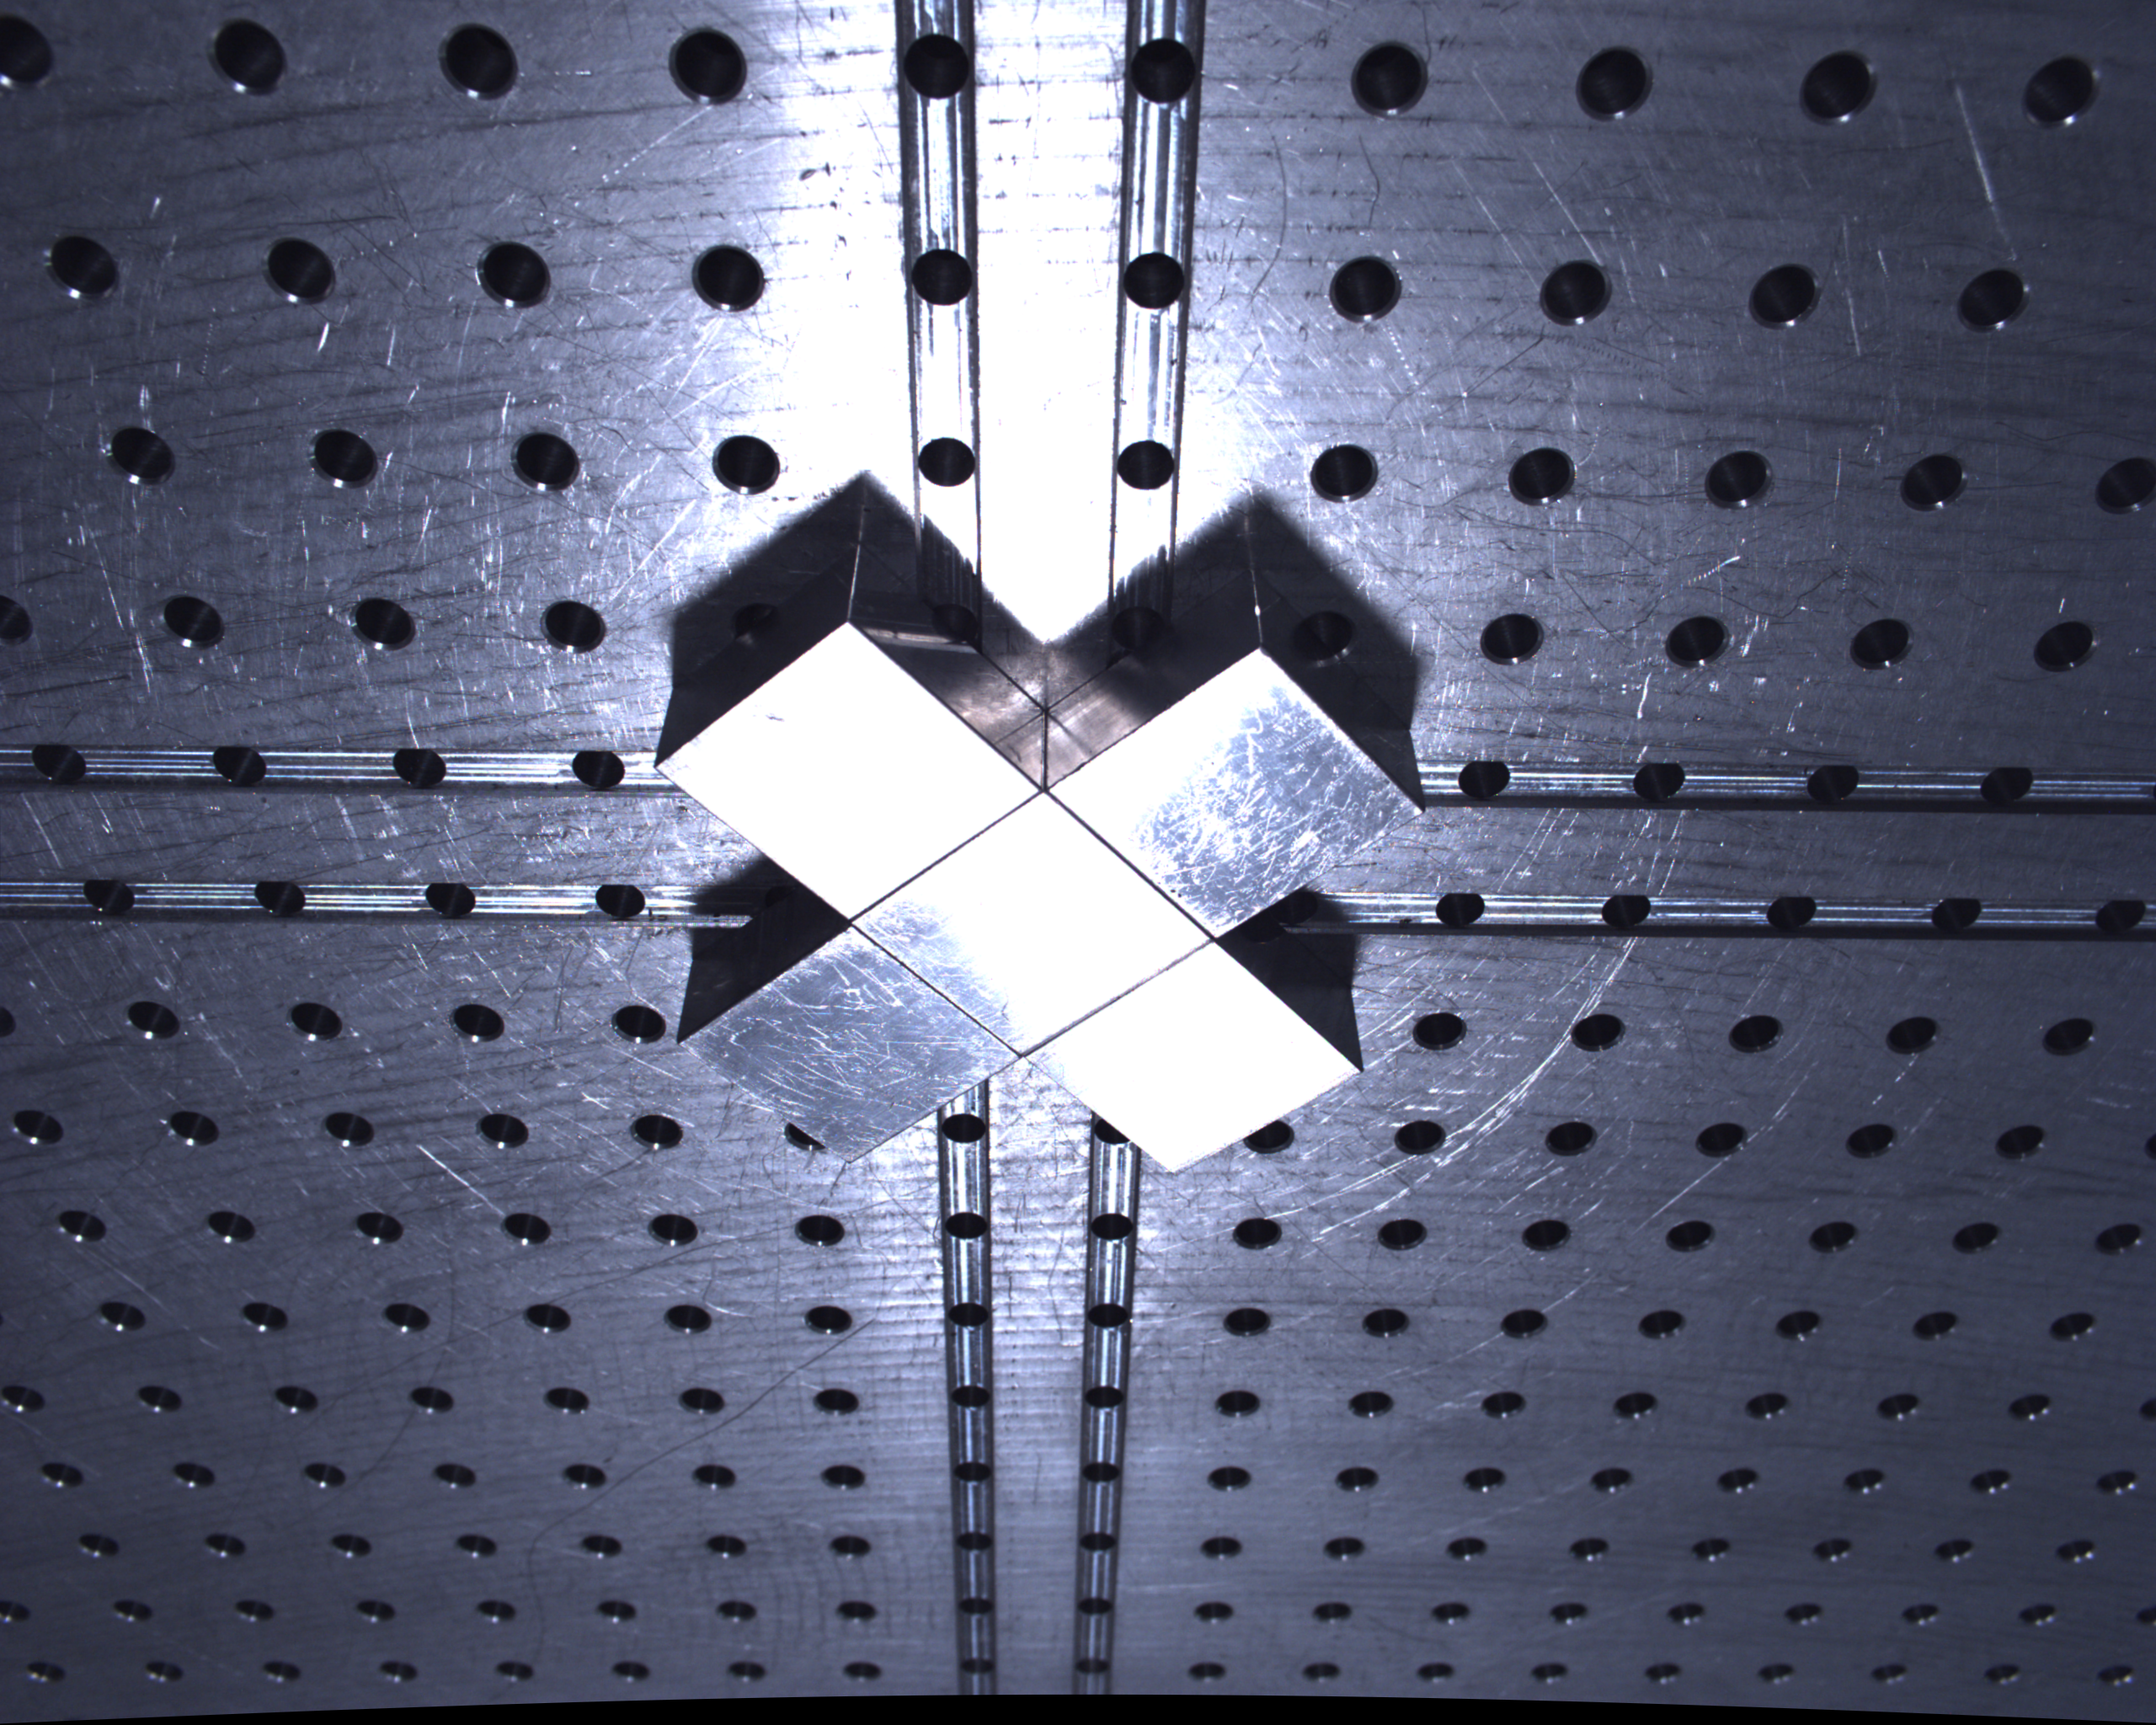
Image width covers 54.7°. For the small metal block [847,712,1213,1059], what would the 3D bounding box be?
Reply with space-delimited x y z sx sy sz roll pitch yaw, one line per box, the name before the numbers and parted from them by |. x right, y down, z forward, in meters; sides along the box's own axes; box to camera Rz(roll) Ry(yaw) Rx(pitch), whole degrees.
small metal block | -0.009 0.006 0.415 0.050 0.025 0.050 -34 123 25

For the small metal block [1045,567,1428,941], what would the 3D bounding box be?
small metal block | 0.029 -0.019 0.395 0.050 0.025 0.050 -34 123 25

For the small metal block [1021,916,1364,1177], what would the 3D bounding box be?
small metal block | 0.024 0.034 0.441 0.050 0.025 0.050 -33 123 25

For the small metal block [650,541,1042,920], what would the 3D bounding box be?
small metal block | -0.042 -0.023 0.391 0.050 0.025 0.050 -33 123 25

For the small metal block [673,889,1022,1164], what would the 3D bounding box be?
small metal block | -0.047 0.030 0.437 0.050 0.025 0.050 -34 123 25
